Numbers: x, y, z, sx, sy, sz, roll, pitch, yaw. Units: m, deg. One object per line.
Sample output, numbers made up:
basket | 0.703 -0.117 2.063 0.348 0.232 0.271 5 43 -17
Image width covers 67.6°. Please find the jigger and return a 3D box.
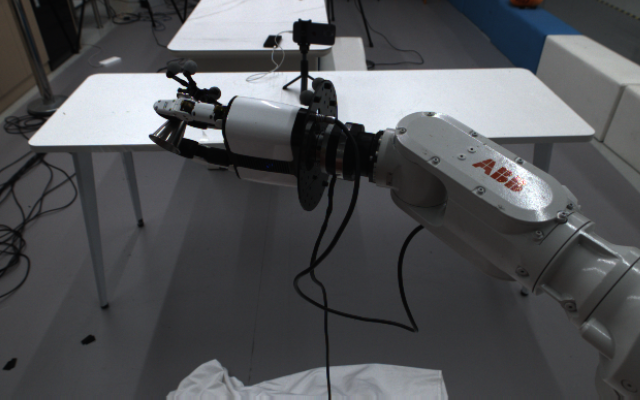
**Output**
jigger | -0.185 -0.101 0.624 0.043 0.043 0.071 20 74 24
